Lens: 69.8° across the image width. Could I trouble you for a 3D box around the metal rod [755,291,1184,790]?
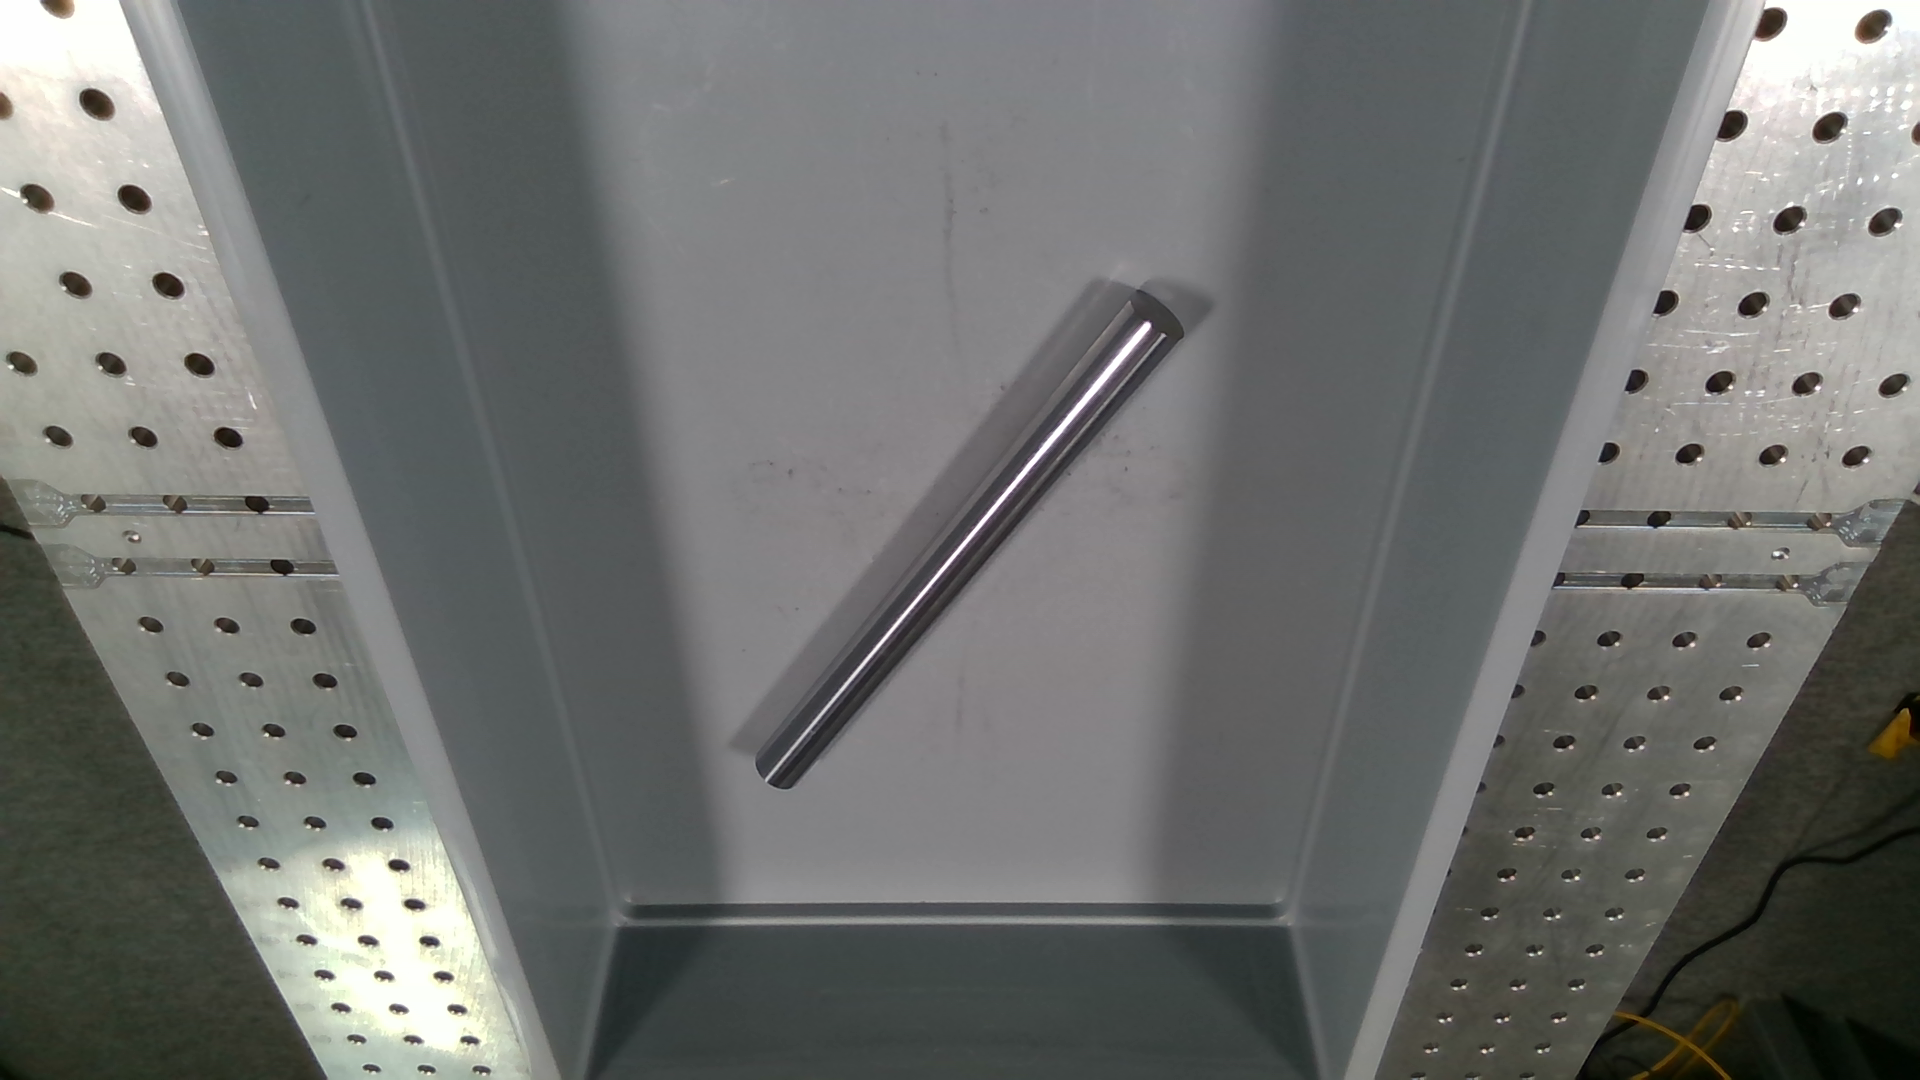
[{"bbox_3d":[-0.008,0.014,0.588,0.025,0.025,0.301,26,125,-20],"label":"metal rod"}]
